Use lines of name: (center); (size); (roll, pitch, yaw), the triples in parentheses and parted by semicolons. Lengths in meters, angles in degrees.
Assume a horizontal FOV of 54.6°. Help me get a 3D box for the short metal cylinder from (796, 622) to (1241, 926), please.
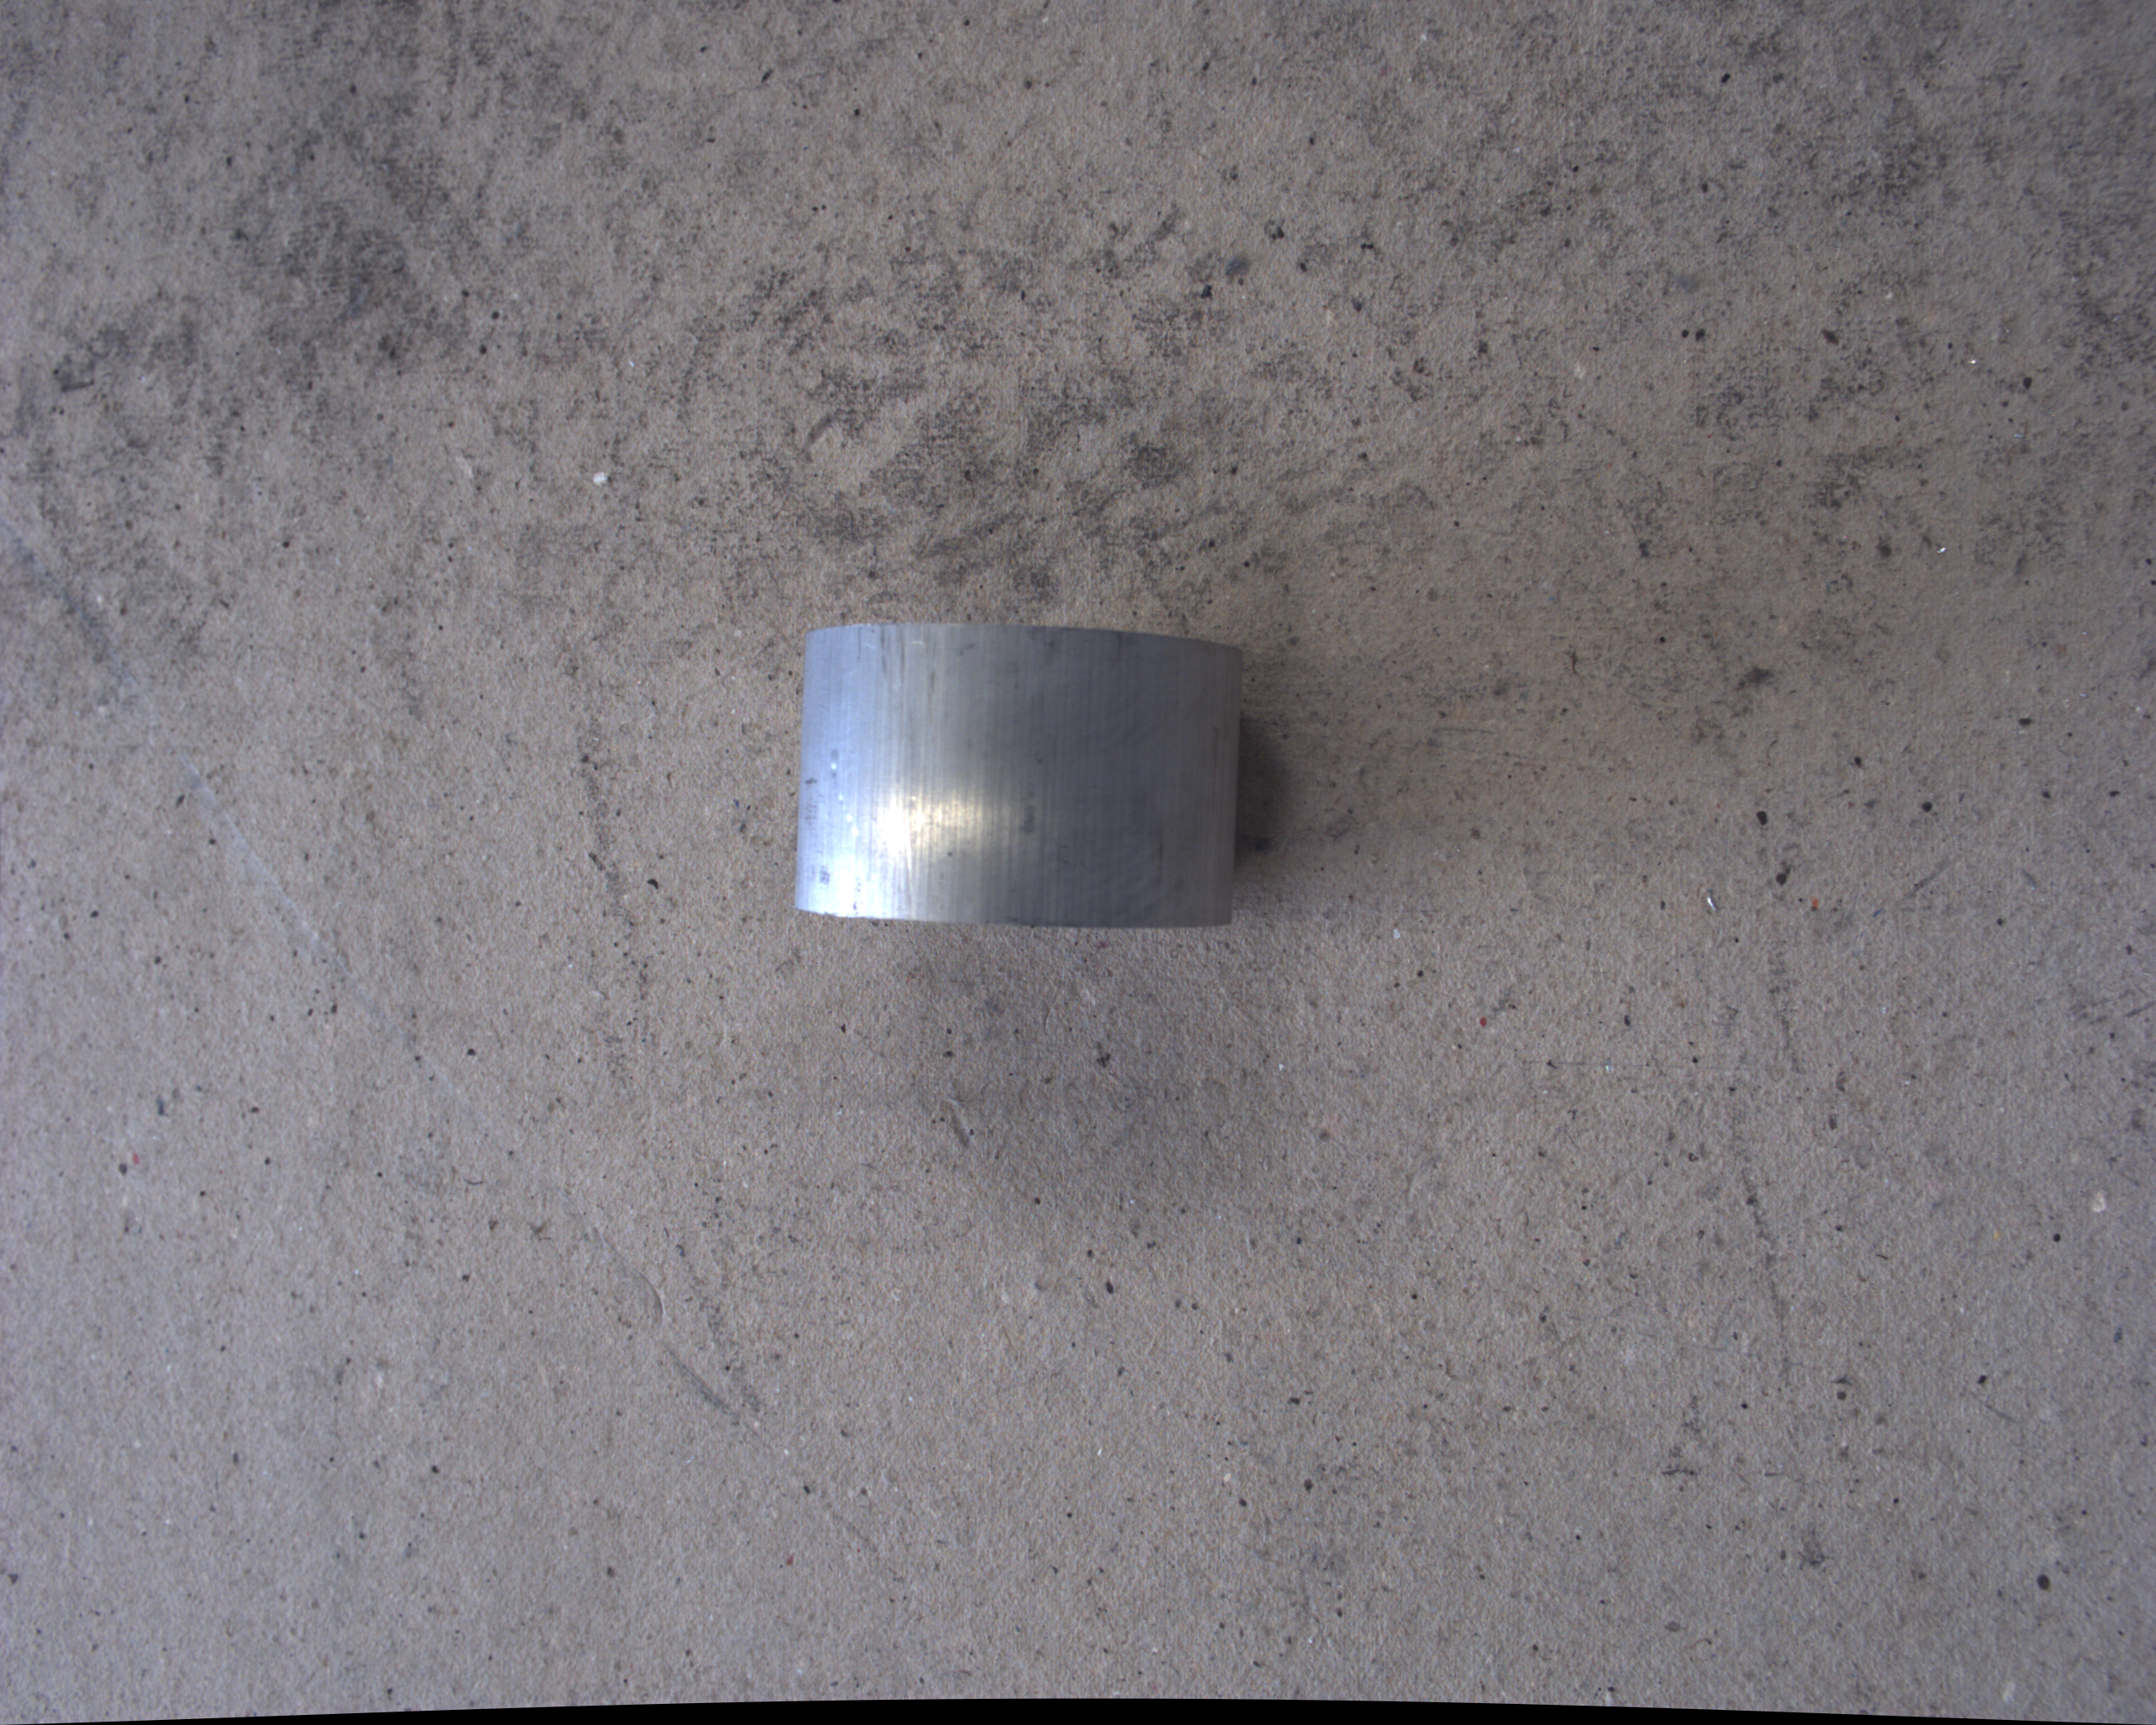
short metal cylinder: (-0.011, -0.015, 0.385); (0.080, 0.080, 0.050); (2, 91, 20)
